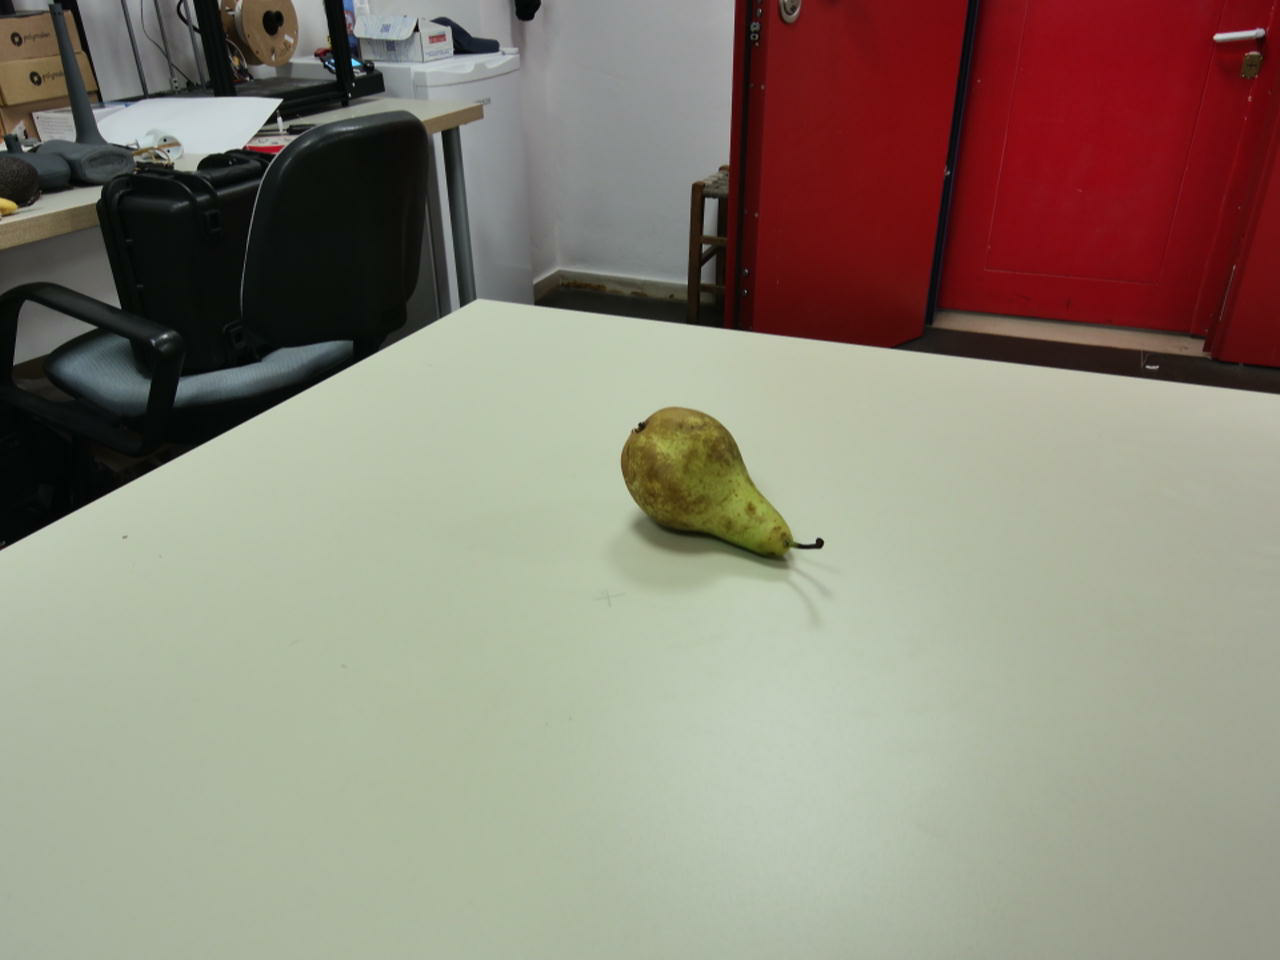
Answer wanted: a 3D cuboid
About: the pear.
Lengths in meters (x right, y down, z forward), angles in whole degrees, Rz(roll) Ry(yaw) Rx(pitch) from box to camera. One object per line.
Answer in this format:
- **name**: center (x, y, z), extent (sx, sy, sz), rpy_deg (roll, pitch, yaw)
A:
- **pear**: center (0.055, 0.001, 0.599), extent (0.144, 0.075, 0.071), rpy_deg (15, 30, 28)
